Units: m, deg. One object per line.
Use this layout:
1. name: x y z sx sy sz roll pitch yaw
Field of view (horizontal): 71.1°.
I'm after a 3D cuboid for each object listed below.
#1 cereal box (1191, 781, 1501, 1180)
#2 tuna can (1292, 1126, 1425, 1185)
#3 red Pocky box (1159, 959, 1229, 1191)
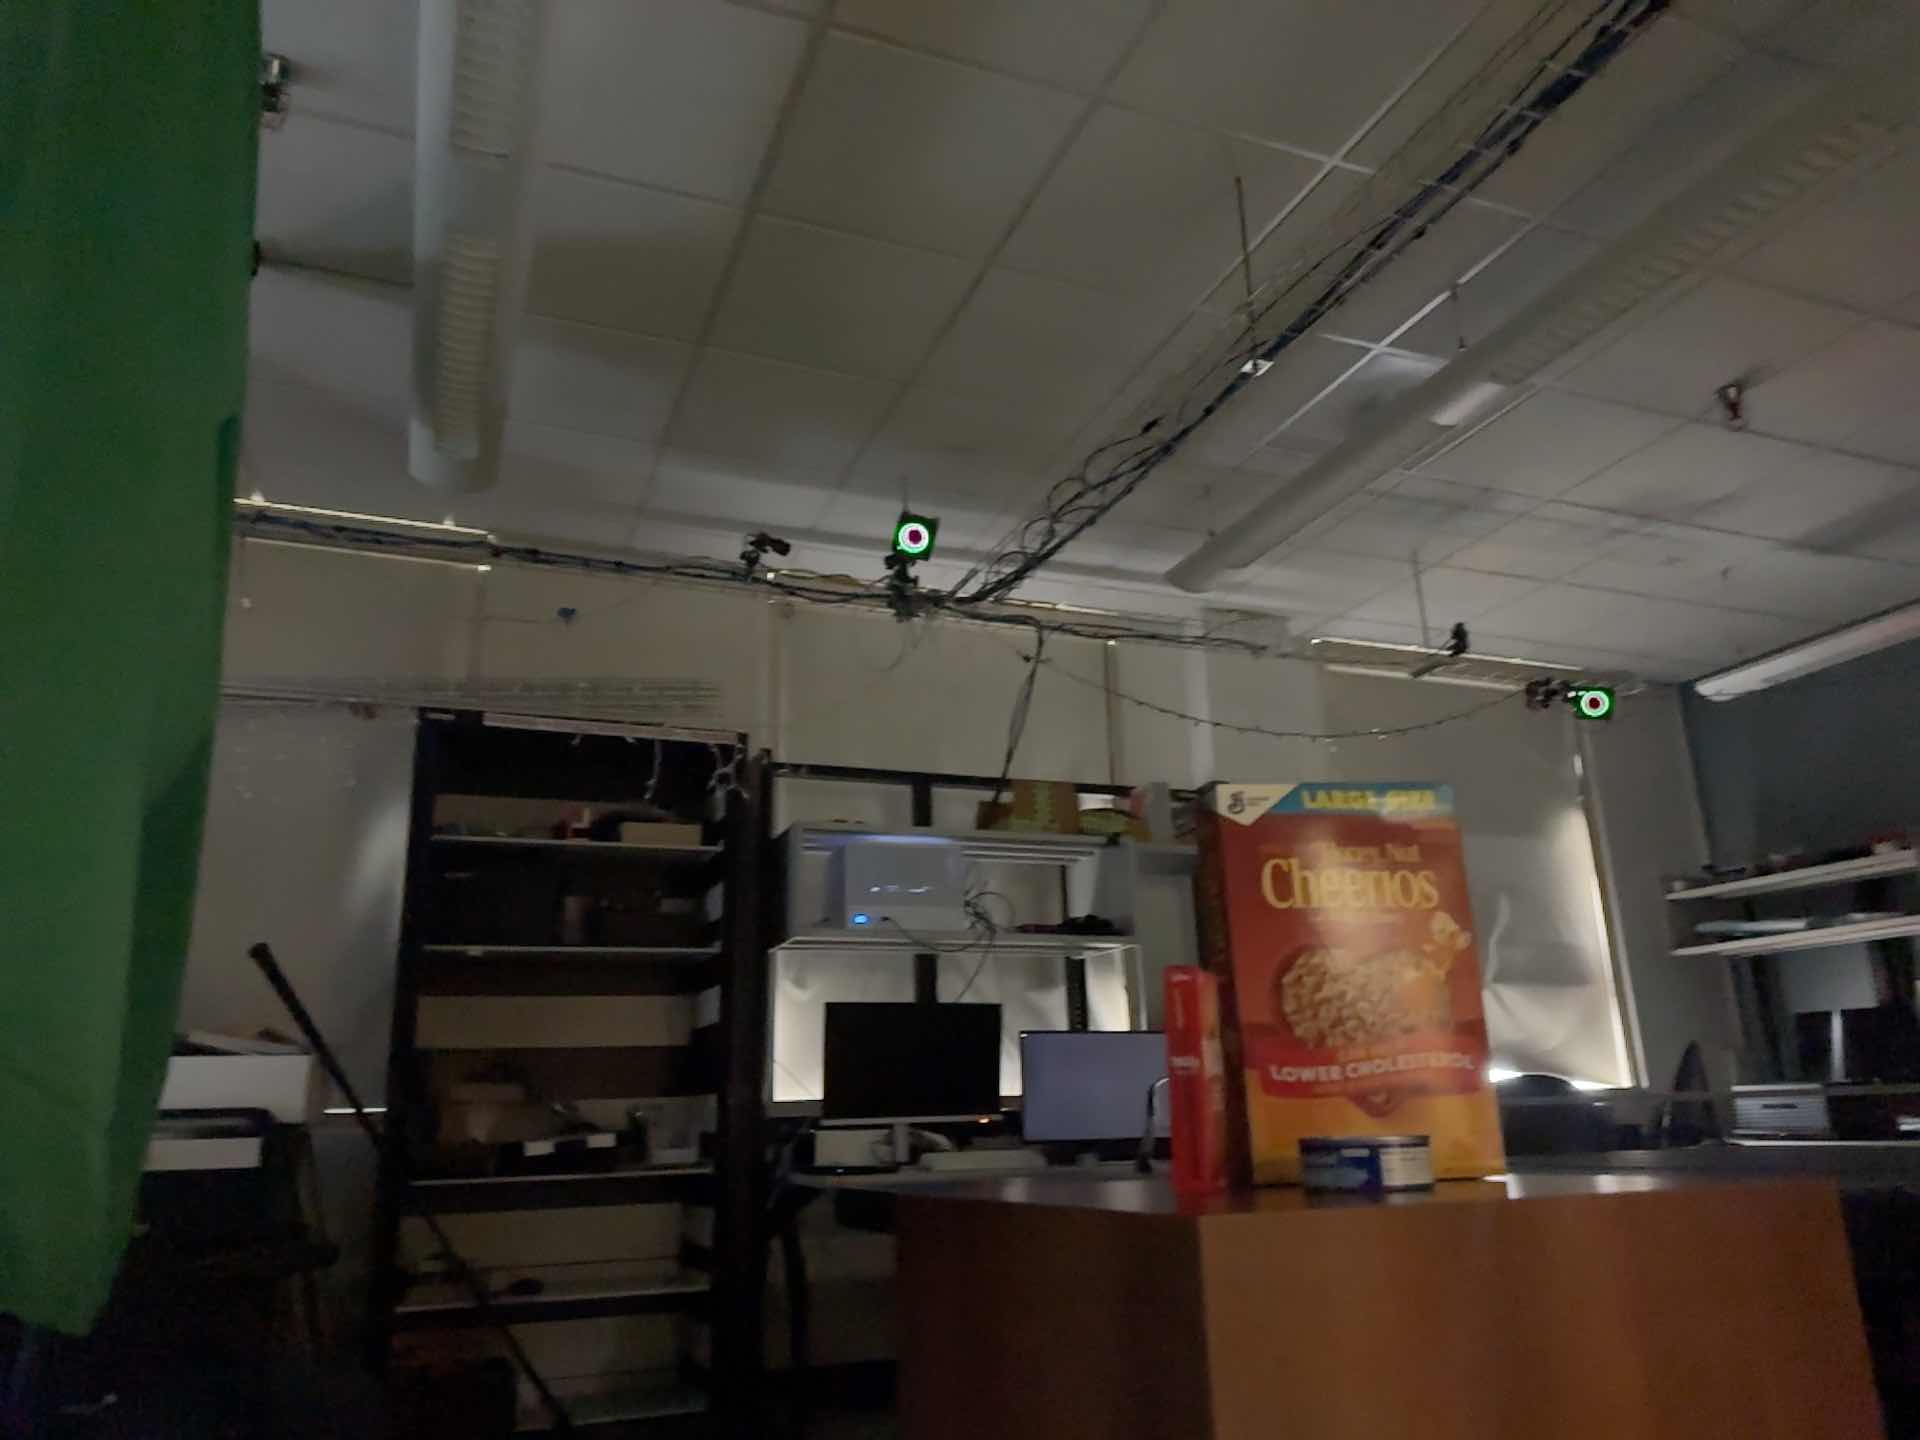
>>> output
1. cereal box: 0.301 0.201 1.073 0.195 0.297 0.065 1 -16 -8
2. tuna can: 0.267 0.292 0.903 0.083 0.034 0.083 -1 -15 0
3. red Pocky box: 0.166 0.250 0.953 0.028 0.155 0.083 -7 -16 21
